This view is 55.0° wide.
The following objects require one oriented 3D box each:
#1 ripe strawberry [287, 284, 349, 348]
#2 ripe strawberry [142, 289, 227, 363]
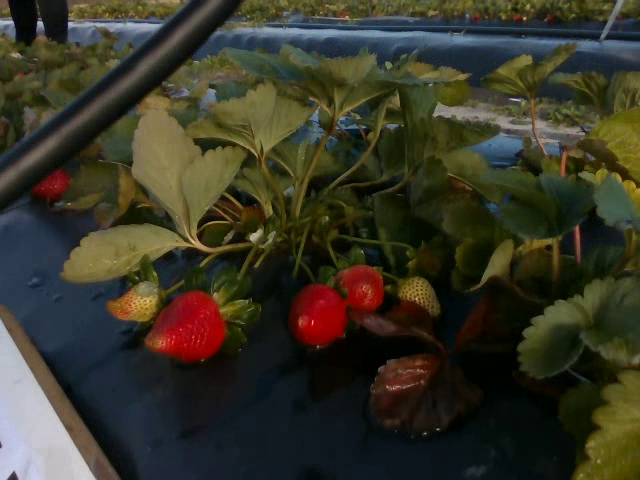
[{"bbox_3d":[-0.006,0.050,0.374,0.044,0.042,0.055,-39,-9,13],"label":"ripe strawberry"},{"bbox_3d":[-0.091,0.055,0.383,0.050,0.050,0.065,-22,-7,30],"label":"ripe strawberry"}]
